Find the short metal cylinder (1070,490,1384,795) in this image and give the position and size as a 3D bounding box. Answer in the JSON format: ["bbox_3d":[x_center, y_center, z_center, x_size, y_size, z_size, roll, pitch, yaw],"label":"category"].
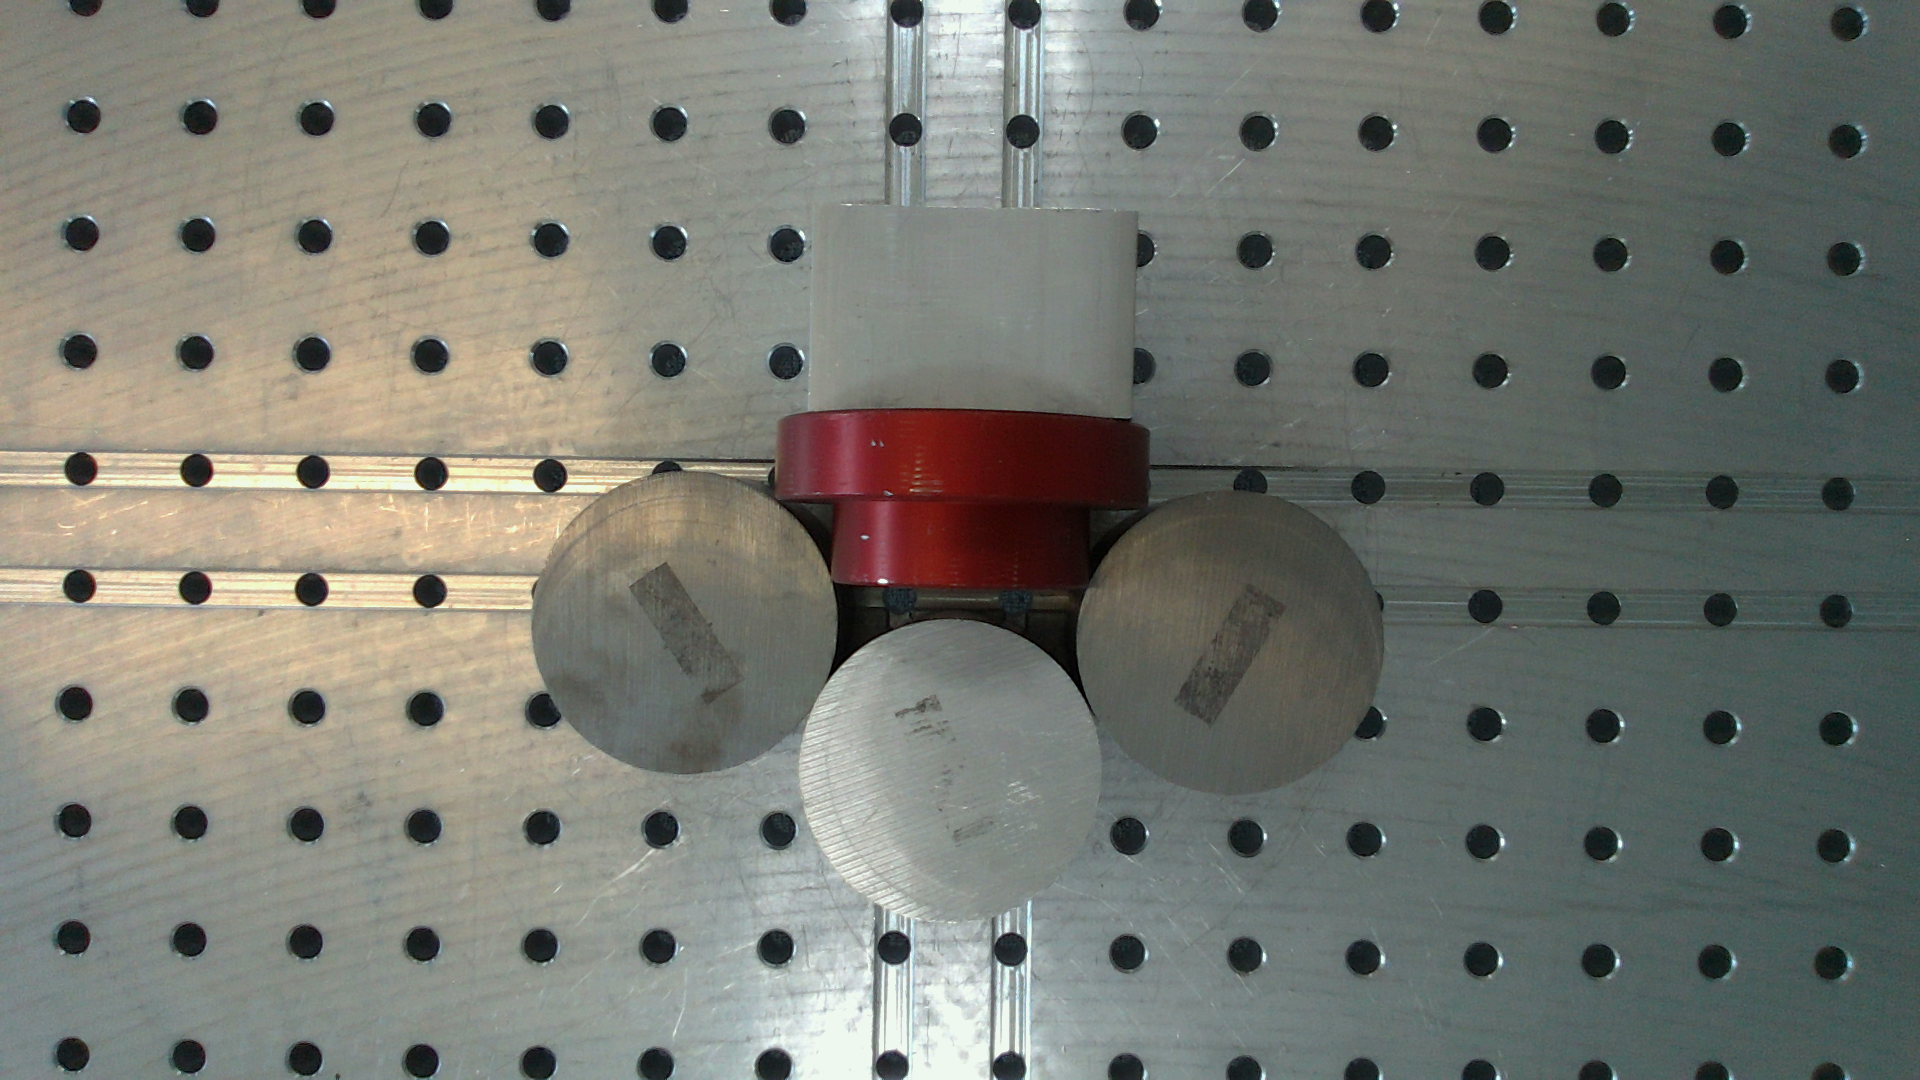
[{"bbox_3d":[0.071,0.027,0.386,0.080,0.050,0.080,0,90,0],"label":"short metal cylinder"}]

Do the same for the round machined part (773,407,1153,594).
[{"bbox_3d":[0.000,-0.008,0.359,0.098,0.098,0.042,2,90,0],"label":"round machined part"}]

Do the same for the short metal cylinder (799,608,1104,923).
[{"bbox_3d":[-0.002,0.060,0.386,0.080,0.050,0.080,0,90,0],"label":"short metal cylinder"}]

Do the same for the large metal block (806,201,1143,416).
[{"bbox_3d":[0.004,-0.056,0.369,0.080,0.080,0.050,1,90,0],"label":"large metal block"}]

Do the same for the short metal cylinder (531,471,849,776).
[{"bbox_3d":[-0.072,0.022,0.385,0.080,0.050,0.080,0,90,0],"label":"short metal cylinder"}]
